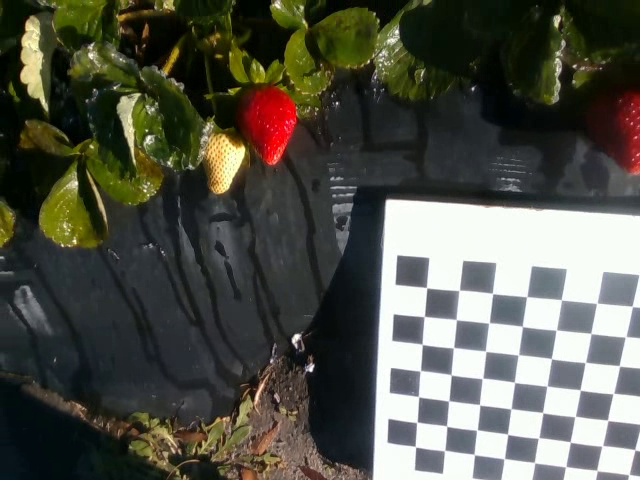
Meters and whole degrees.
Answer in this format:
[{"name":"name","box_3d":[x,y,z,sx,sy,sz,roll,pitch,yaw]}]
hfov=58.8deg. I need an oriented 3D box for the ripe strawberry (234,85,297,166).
[{"name":"ripe strawberry","box_3d":[-0.033,-0.074,0.383,0.043,0.061,0.046,-10,-25,14]}]
